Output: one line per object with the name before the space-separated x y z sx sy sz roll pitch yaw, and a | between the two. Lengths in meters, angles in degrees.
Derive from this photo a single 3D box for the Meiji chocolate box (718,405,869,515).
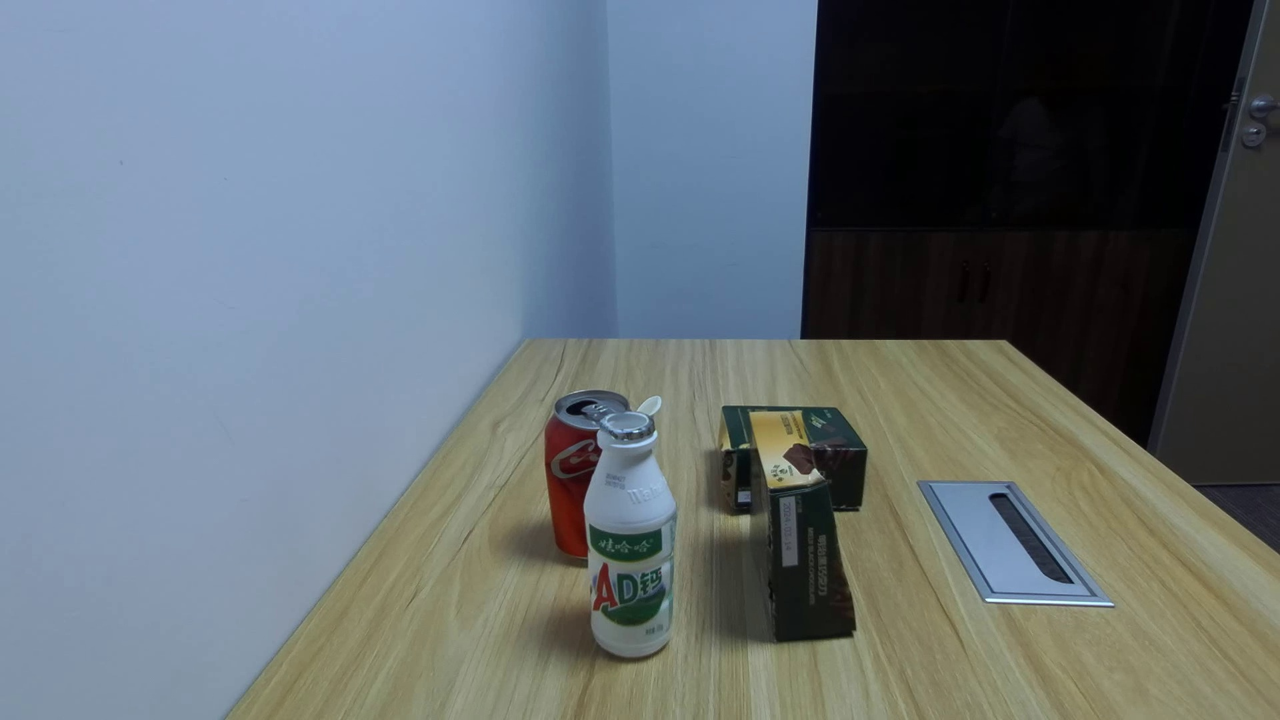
Meiji chocolate box | 0.129 0.081 0.614 0.122 0.058 0.115 -1 18 1

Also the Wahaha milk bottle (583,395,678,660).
Wahaha milk bottle | -0.005 0.102 0.418 0.056 0.148 0.056 -2 20 1

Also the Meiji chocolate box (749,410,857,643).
Meiji chocolate box | 0.100 0.102 0.465 0.051 0.117 0.117 -9 19 4

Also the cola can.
cola can | -0.032 0.084 0.525 0.072 0.117 0.065 -3 19 -8
